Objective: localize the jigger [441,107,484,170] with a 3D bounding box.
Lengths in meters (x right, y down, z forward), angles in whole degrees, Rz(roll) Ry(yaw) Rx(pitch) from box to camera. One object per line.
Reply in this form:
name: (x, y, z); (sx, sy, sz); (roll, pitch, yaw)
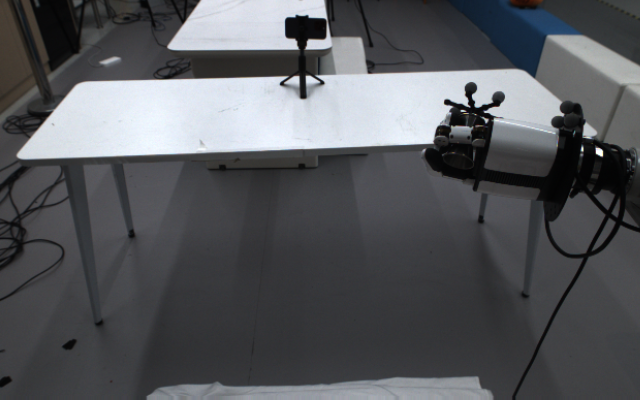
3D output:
jigger: (0.203, -0.087, 0.681); (0.043, 0.043, 0.071); (16, 70, 19)
